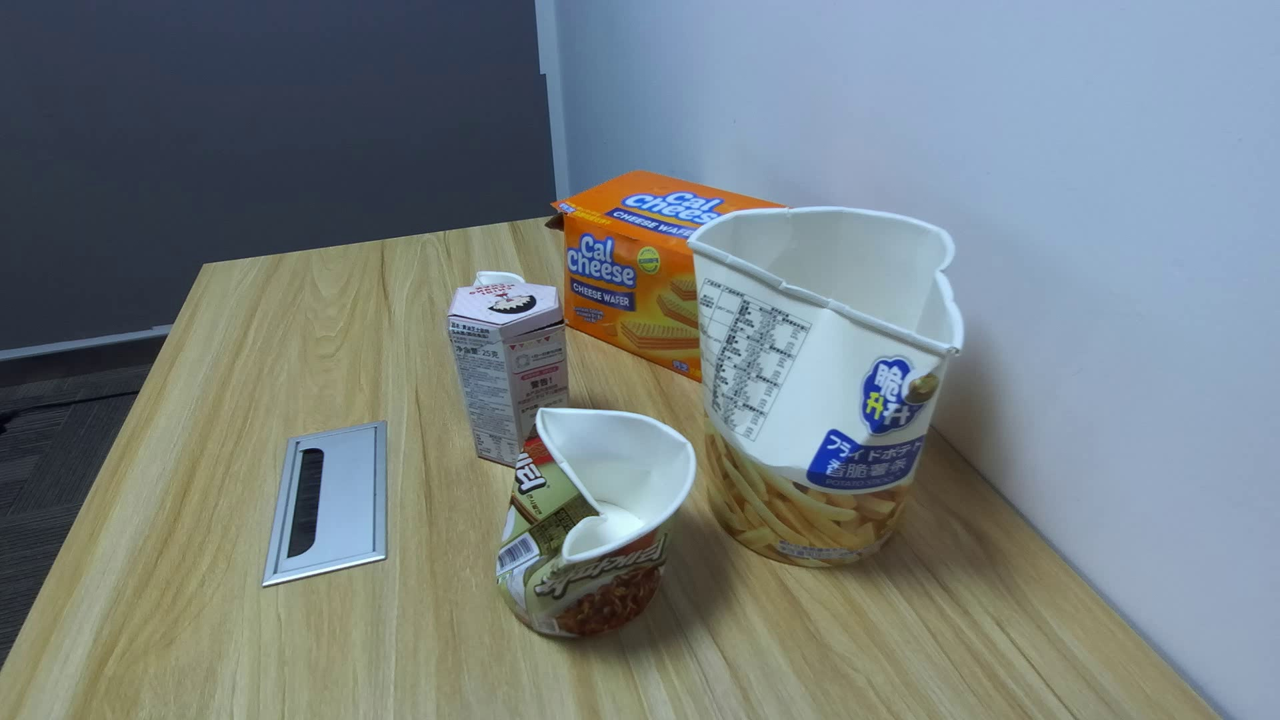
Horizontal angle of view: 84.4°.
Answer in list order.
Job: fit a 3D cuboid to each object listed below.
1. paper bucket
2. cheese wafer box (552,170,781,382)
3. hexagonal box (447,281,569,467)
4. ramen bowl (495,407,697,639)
[{"bbox_3d":[0.112,0.019,0.486,0.162,0.202,0.169,8,33,15],"label":"paper bucket"},{"bbox_3d":[0.041,-0.091,0.702,0.226,0.137,0.150,23,41,31],"label":"cheese wafer box"},{"bbox_3d":[-0.098,0.010,0.562,0.092,0.135,0.084,-22,38,-26],"label":"hexagonal box"},{"bbox_3d":[-0.031,0.106,0.453,0.137,0.098,0.137,0,38,0],"label":"ramen bowl"}]
